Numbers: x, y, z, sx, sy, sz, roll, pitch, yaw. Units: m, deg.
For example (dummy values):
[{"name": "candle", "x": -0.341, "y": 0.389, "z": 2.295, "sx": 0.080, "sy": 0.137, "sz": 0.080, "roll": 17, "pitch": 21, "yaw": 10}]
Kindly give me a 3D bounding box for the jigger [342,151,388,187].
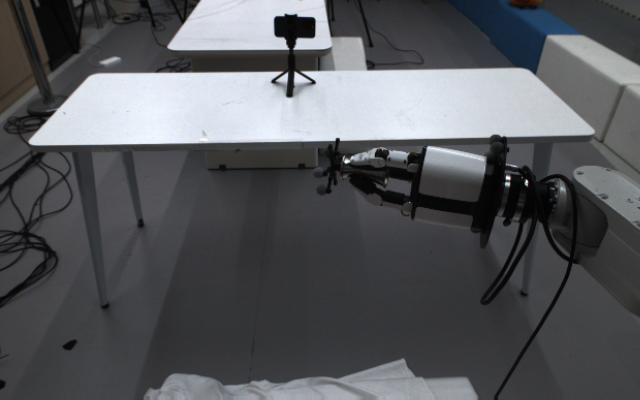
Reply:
[{"name": "jigger", "x": 0.074, "y": -0.050, "z": 0.728, "sx": 0.071, "sy": 0.043, "sz": 0.043, "roll": 9, "pitch": 35, "yaw": 16}]
